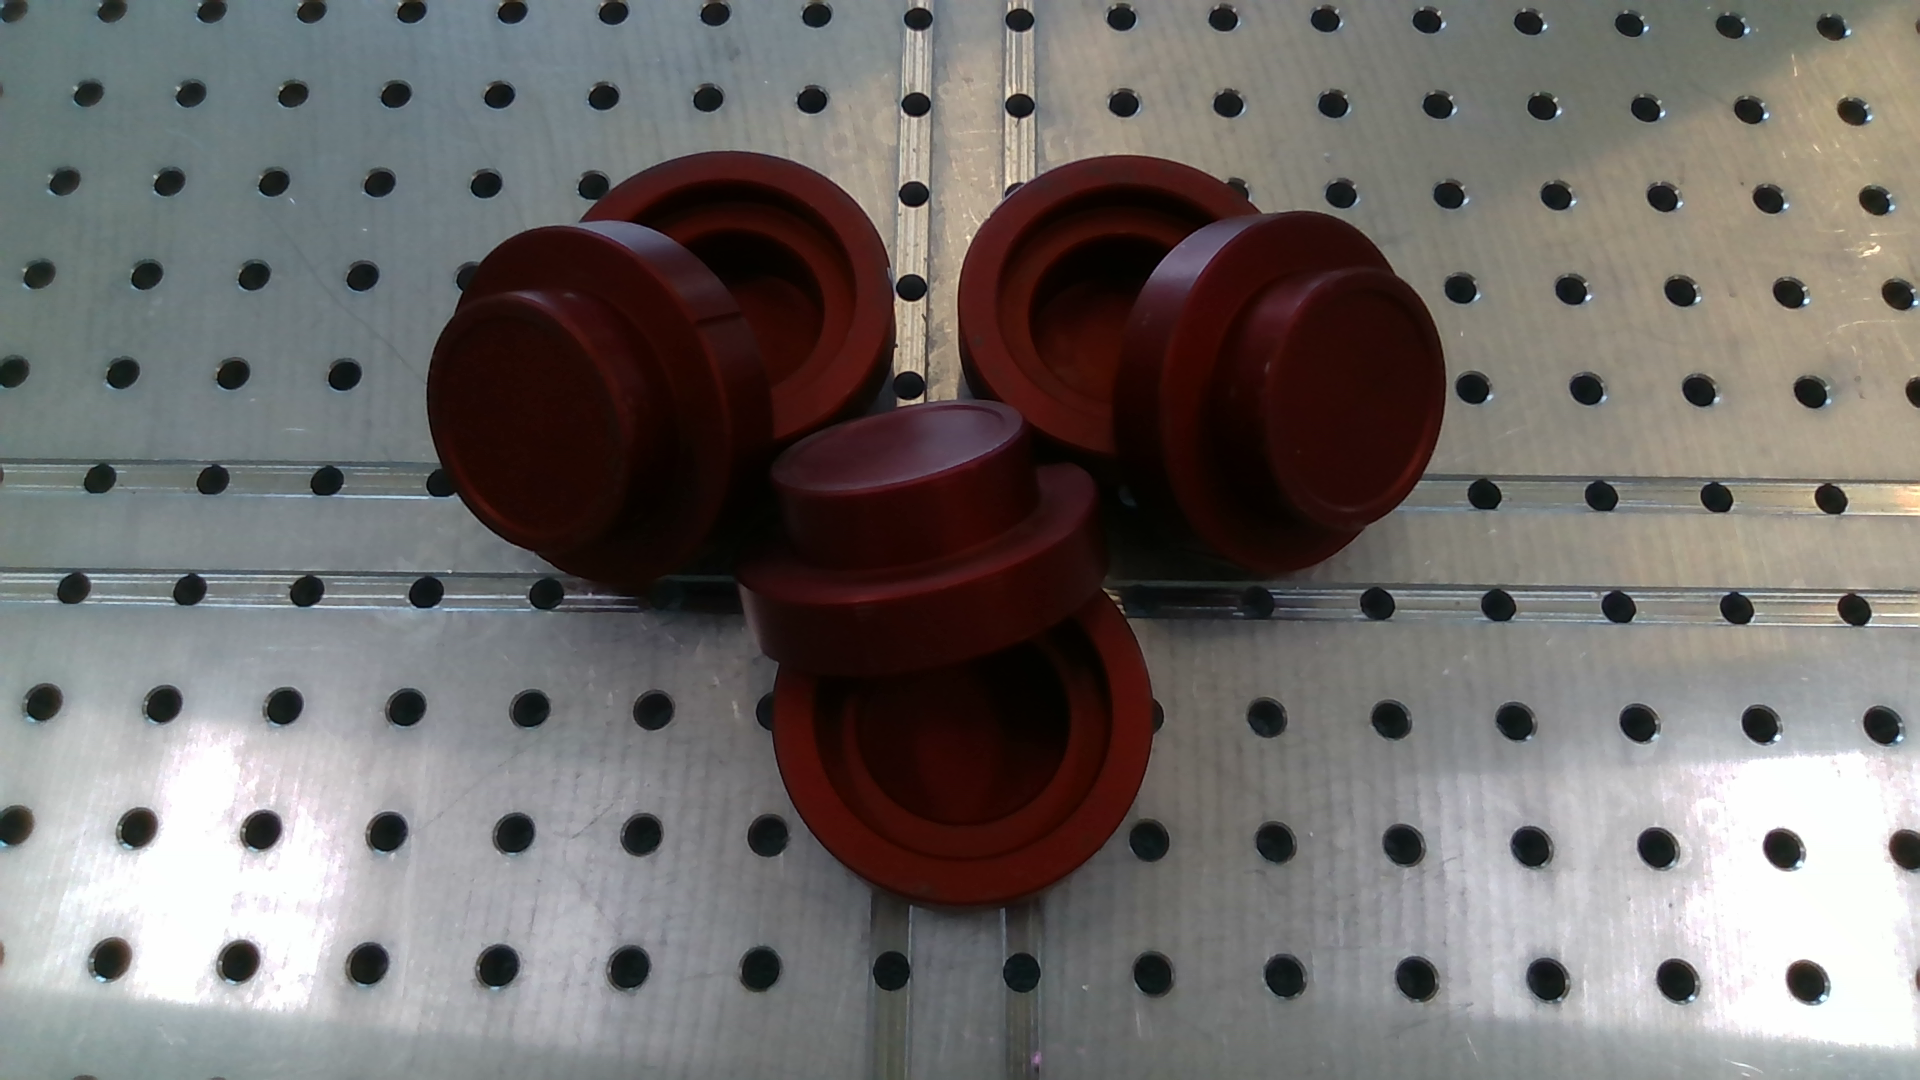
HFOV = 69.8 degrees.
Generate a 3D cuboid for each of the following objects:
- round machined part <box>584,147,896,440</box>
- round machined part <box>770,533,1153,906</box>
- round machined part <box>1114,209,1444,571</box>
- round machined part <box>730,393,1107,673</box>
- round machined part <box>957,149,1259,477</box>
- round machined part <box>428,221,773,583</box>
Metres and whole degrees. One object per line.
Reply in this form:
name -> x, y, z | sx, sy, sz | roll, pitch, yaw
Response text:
round machined part -> -0.068, -0.064, 0.411 | 0.098, 0.042, 0.098 | 0, 70, 0
round machined part -> 0.000, 0.049, 0.371 | 0.098, 0.042, 0.098 | 0, 70, 0
round machined part -> 0.092, -0.040, 0.374 | 0.098, 0.042, 0.098 | -7, 103, -33
round machined part -> -0.013, -0.008, 0.360 | 0.098, 0.098, 0.042 | -13, 113, -5
round machined part -> 0.048, -0.063, 0.410 | 0.098, 0.042, 0.098 | 0, 70, 0
round machined part -> -0.103, -0.035, 0.371 | 0.098, 0.042, 0.098 | 9, 110, 26
